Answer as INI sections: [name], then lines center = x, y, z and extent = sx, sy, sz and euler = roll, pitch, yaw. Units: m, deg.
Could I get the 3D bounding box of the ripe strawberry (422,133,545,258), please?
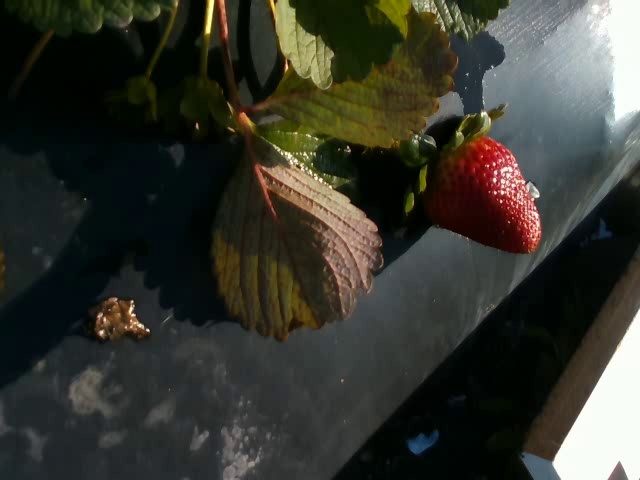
[ripe strawberry]
center = 0.063, -0.015, 0.229
extent = 0.045, 0.055, 0.042
euler = -40, -8, -32
